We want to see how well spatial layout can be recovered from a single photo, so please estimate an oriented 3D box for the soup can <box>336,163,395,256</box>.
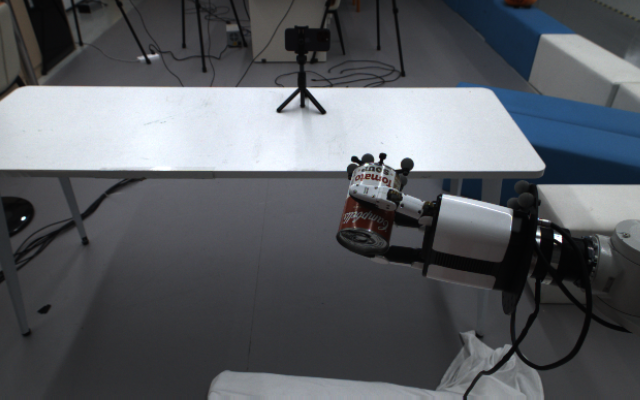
[{"bbox_3d":[0.066,0.009,0.627,0.067,0.067,0.101,9,61,10],"label":"soup can"}]
